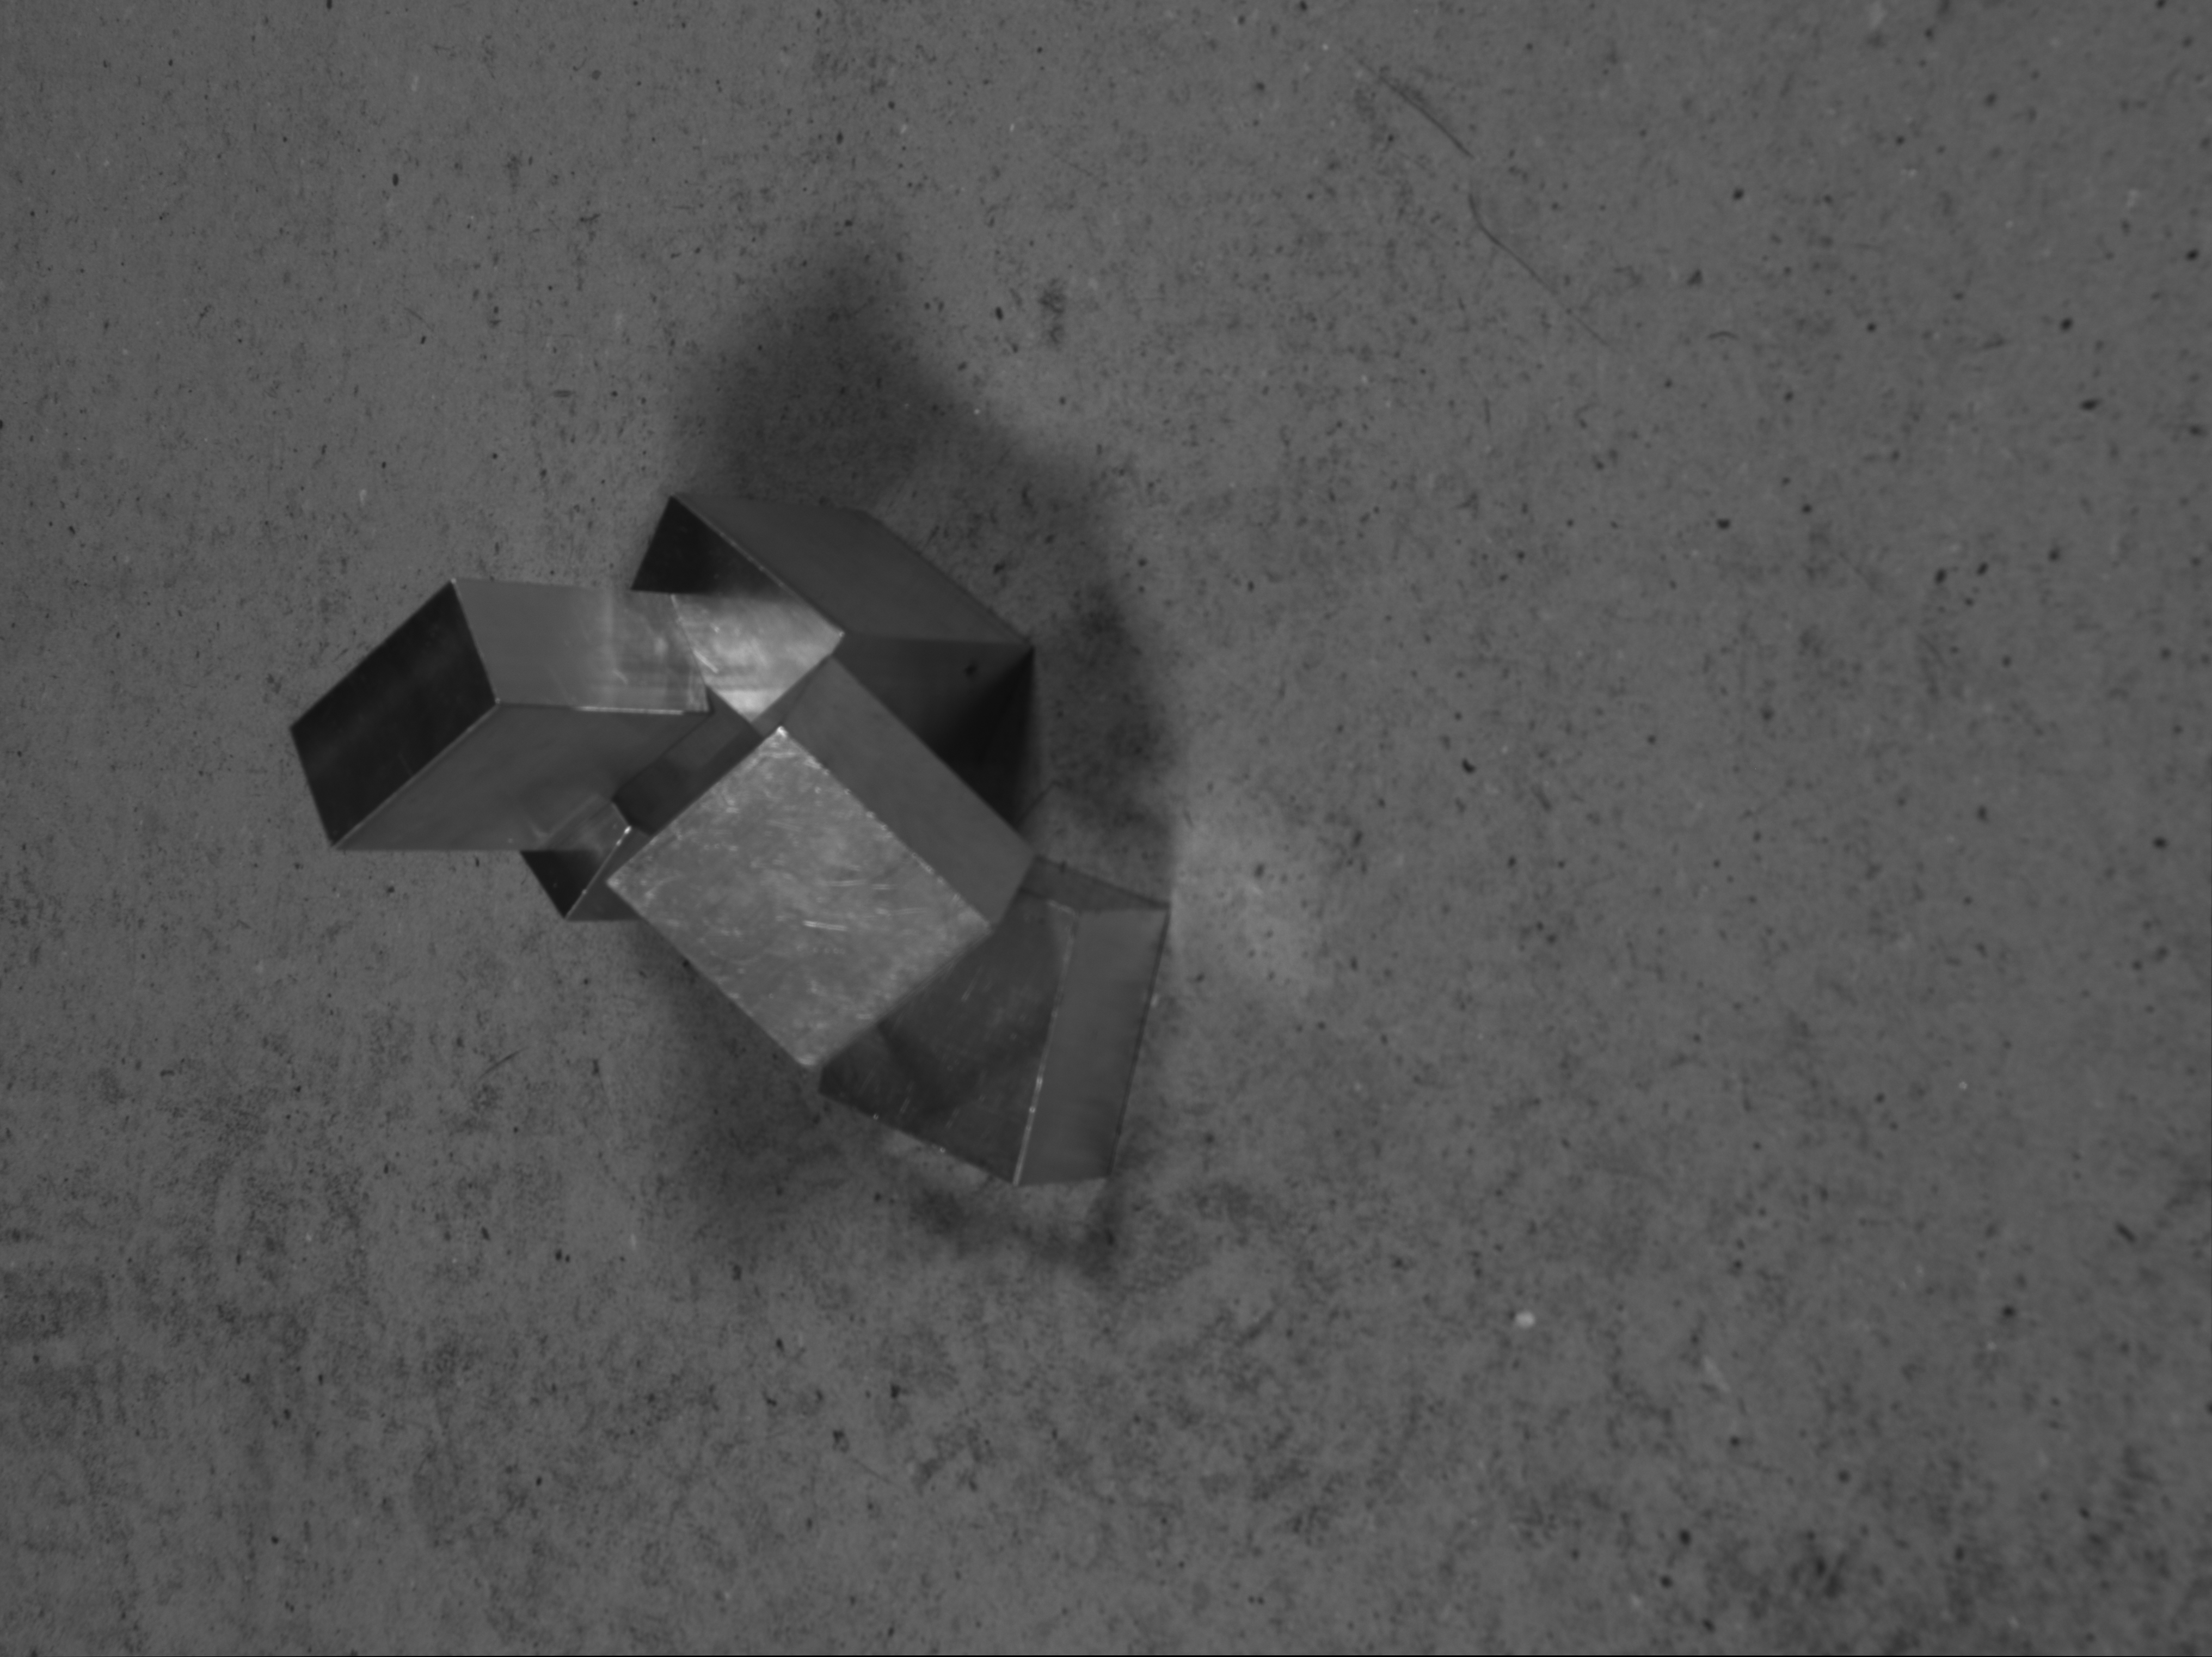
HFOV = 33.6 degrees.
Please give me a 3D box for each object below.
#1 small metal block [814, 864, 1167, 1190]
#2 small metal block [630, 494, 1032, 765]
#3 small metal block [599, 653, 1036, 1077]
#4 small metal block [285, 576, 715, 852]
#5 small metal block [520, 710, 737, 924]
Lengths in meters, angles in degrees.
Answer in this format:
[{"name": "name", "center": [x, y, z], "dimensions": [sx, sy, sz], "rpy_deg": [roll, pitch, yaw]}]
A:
[{"name": "small metal block", "center": [-0.021, 0.032, 0.654], "dimensions": [0.050, 0.025, 0.050], "rpy_deg": [20, 103, 38]}, {"name": "small metal block", "center": [-0.051, -0.036, 0.663], "dimensions": [0.050, 0.050, 0.025], "rpy_deg": [39, 113, 33]}, {"name": "small metal block", "center": [-0.049, 0.007, 0.629], "dimensions": [0.050, 0.025, 0.050], "rpy_deg": [44, 123, -12]}, {"name": "small metal block", "center": [-0.106, -0.019, 0.643], "dimensions": [0.050, 0.050, 0.025], "rpy_deg": [-36, 68, 33]}, {"name": "small metal block", "center": [-0.090, -0.009, 0.695], "dimensions": [0.025, 0.050, 0.050], "rpy_deg": [-52, 60, 27]}]
